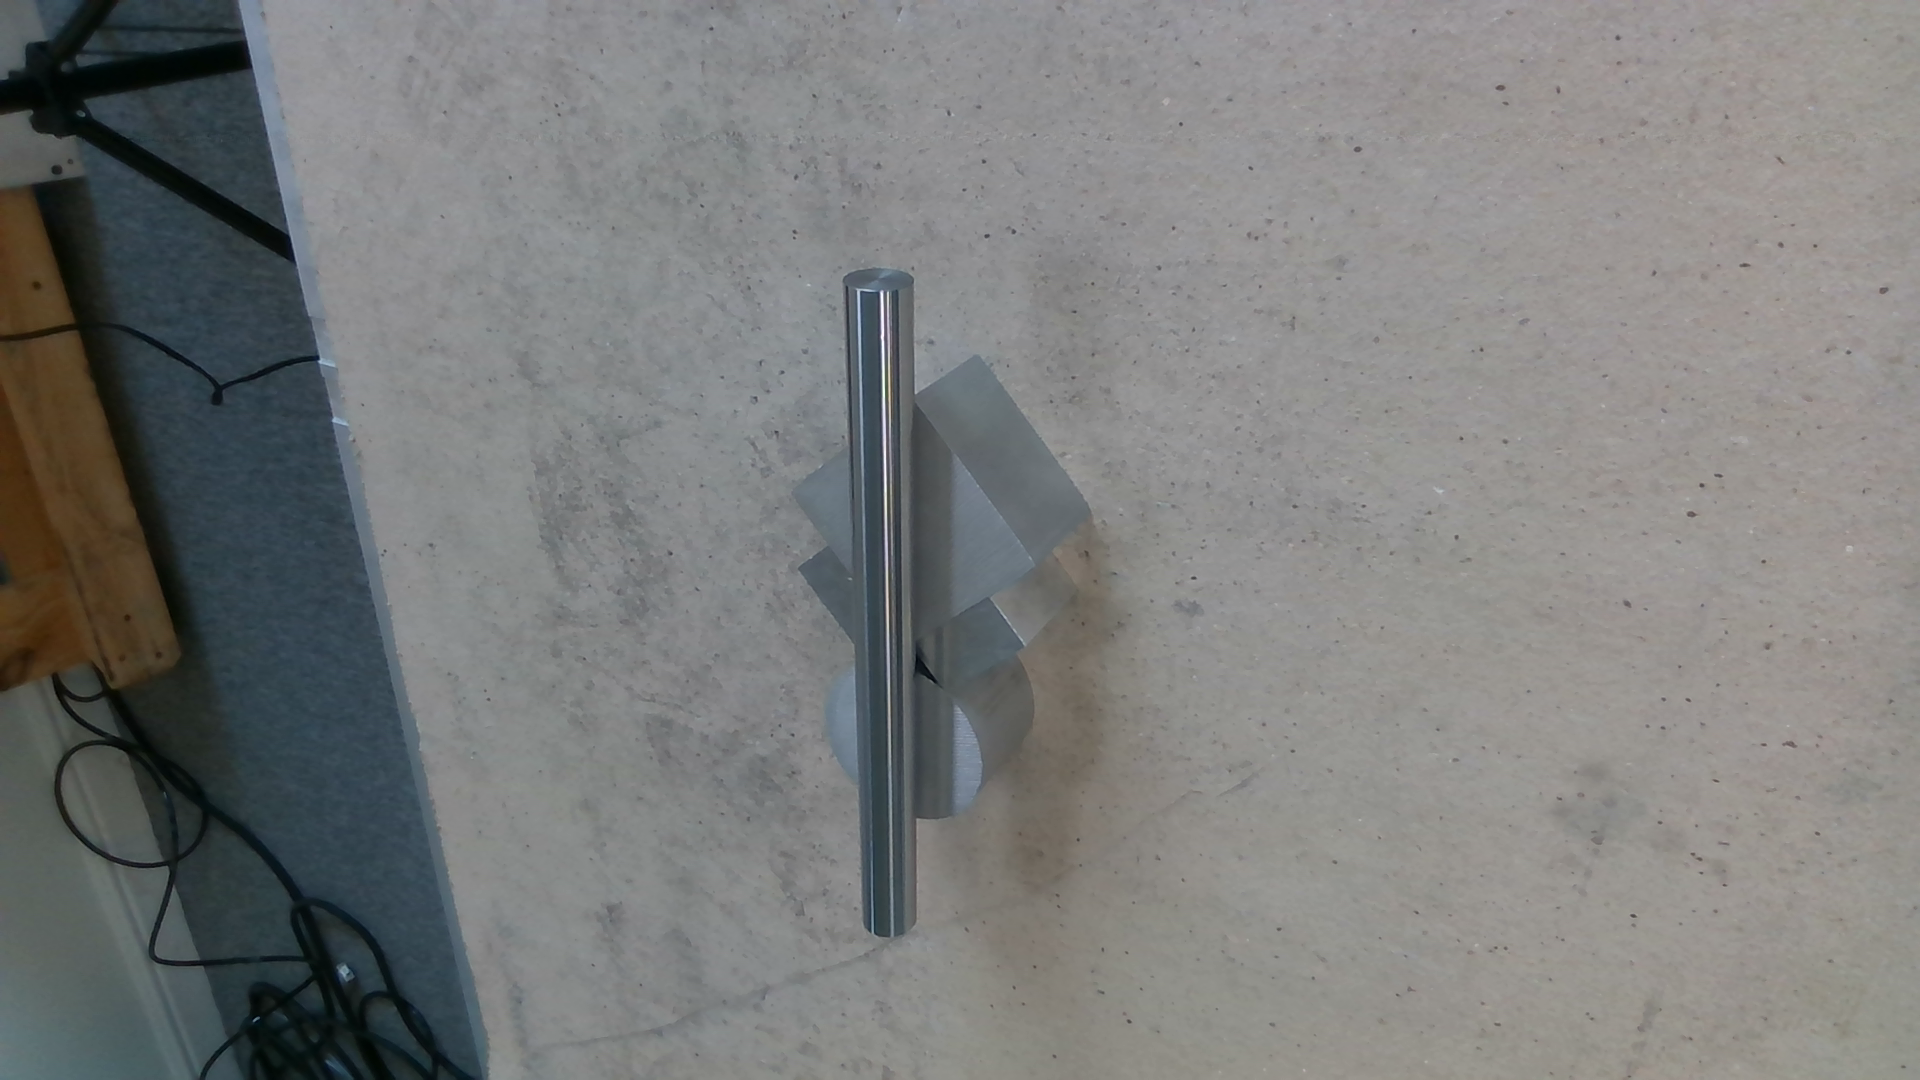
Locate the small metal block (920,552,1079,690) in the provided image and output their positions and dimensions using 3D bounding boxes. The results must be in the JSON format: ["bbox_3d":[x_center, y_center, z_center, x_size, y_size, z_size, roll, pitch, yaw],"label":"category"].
[{"bbox_3d":[0.014,0.031,0.573,0.050,0.050,0.025,-33,95,39],"label":"small metal block"}]

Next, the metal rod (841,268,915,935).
[{"bbox_3d":[-0.031,0.040,0.554,0.025,0.025,0.301,15,122,24],"label":"metal rod"}]

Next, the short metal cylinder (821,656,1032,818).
[{"bbox_3d":[-0.015,0.076,0.614,0.080,0.050,0.080,14,122,25],"label":"short metal cylinder"}]

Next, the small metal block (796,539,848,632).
[{"bbox_3d":[-0.034,0.014,0.594,0.025,0.050,0.050,-33,95,39],"label":"small metal block"}]

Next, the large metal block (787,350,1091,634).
[{"bbox_3d":[-0.009,-0.016,0.559,0.080,0.050,0.080,-33,96,39],"label":"large metal block"}]
